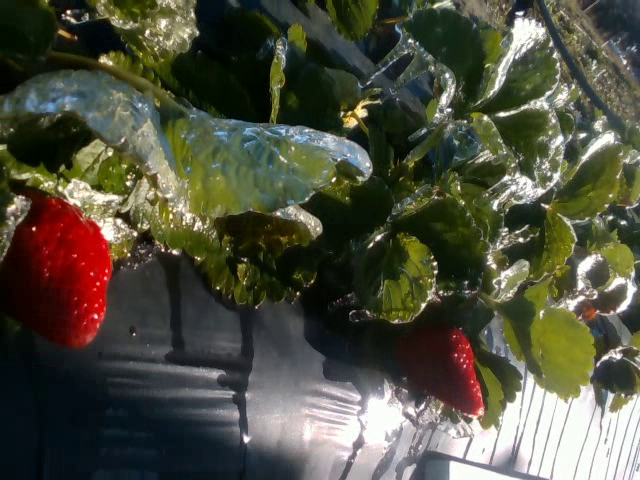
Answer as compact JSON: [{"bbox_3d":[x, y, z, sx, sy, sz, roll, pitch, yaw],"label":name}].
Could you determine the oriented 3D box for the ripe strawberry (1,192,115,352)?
[{"bbox_3d":[-0.073,0.010,0.159,0.037,0.040,0.051,11,24,-44],"label":"ripe strawberry"}]

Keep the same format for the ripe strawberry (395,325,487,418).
[{"bbox_3d":[0.064,0.066,0.289,0.041,0.047,0.053,21,26,-42],"label":"ripe strawberry"}]
